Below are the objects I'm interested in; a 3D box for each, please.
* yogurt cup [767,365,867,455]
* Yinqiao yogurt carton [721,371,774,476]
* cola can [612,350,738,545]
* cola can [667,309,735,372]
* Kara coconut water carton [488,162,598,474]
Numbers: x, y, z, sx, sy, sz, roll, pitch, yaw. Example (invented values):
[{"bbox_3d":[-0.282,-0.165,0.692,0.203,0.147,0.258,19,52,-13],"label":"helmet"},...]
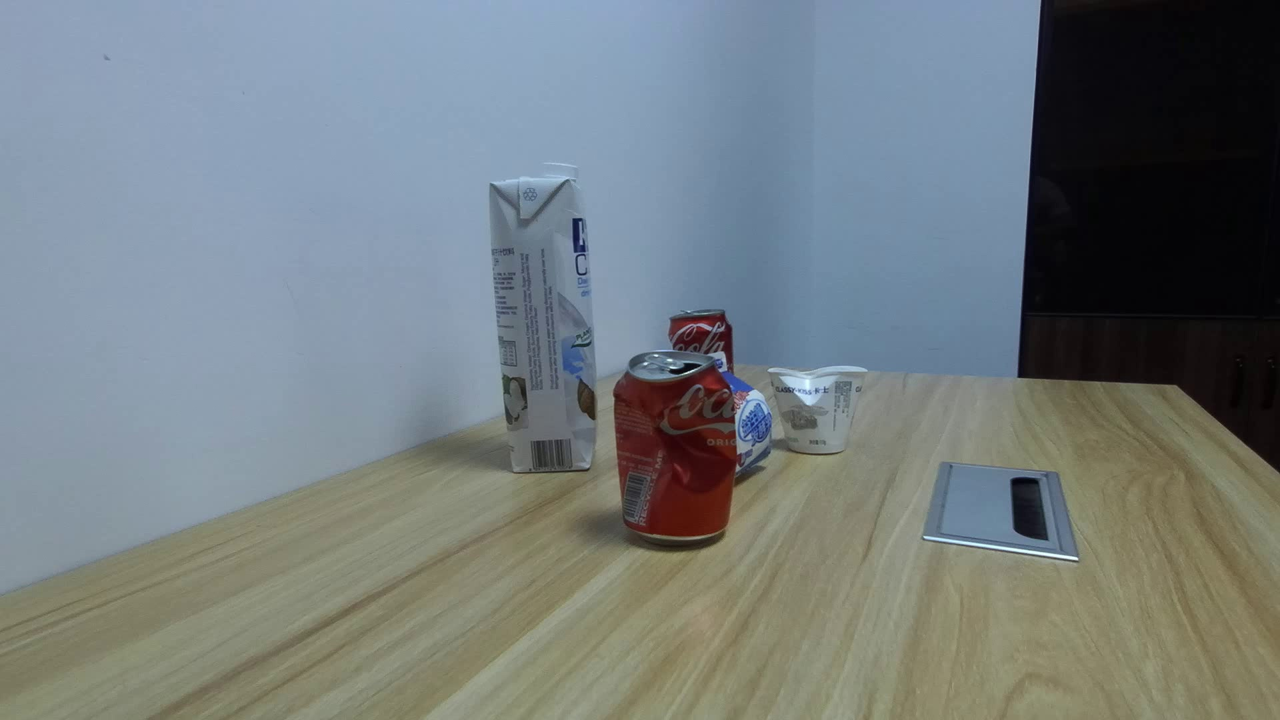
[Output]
[{"bbox_3d":[0.154,0.041,0.615,0.076,0.071,0.053,-5,10,-19],"label":"yogurt cup"},{"bbox_3d":[0.058,0.041,0.558,0.080,0.097,0.075,-3,8,35],"label":"Yinqiao yogurt carton"},{"bbox_3d":[0.020,0.052,0.437,0.066,0.112,0.069,-6,12,-21],"label":"cola can"},{"bbox_3d":[0.060,0.013,0.681,0.065,0.117,0.072,1,4,26],"label":"cola can"},{"bbox_3d":[-0.077,-0.034,0.582,0.075,0.245,0.077,-3,10,2],"label":"Kara coconut water carton"}]
